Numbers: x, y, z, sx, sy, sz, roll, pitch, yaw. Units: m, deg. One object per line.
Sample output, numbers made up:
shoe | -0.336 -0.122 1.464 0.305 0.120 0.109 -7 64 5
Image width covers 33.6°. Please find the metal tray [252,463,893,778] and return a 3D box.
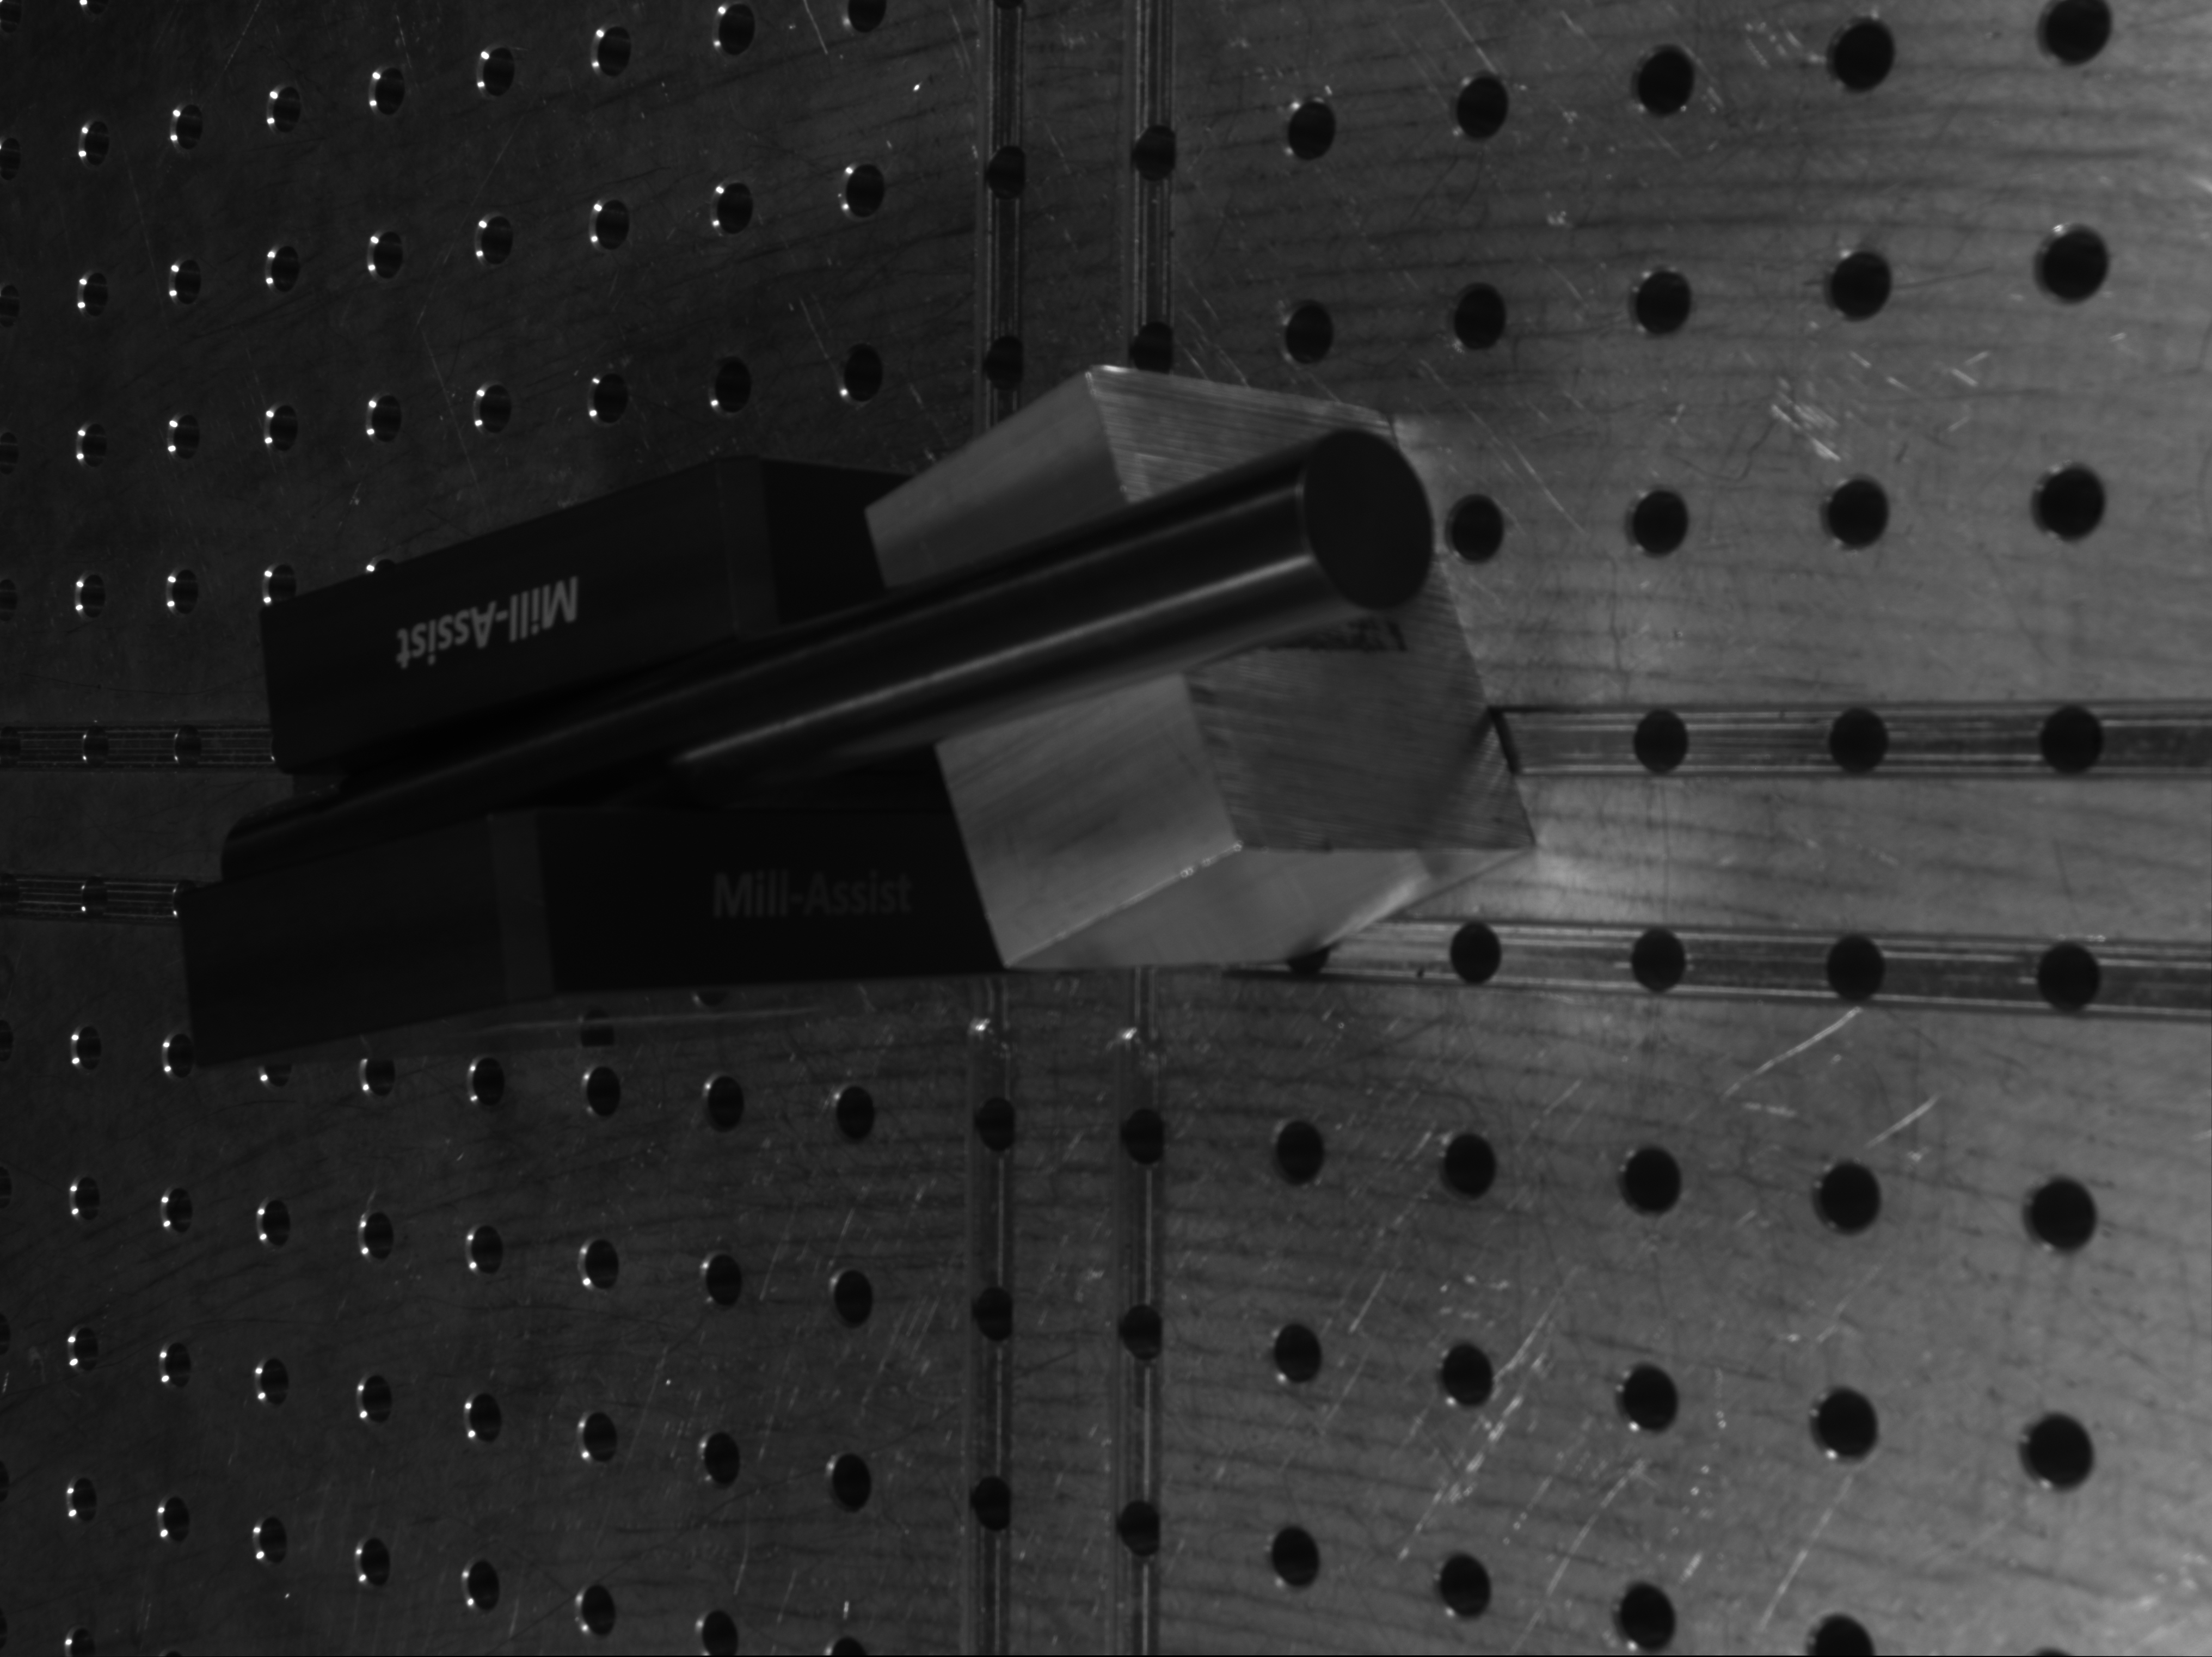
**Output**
metal tray | -0.079 -0.035 0.661 0.130 0.090 0.030 -12 83 39

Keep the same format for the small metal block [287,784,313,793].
small metal block | -0.135 0.006 0.733 0.025 0.050 0.050 -11 83 39

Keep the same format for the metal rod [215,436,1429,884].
metal rod | -0.063 -0.015 0.593 0.299 0.025 0.025 -14 81 48

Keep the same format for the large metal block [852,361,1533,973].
large metal block | 0.015 -0.024 0.591 0.050 0.080 0.080 -28 72 36

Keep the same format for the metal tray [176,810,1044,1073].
metal tray | -0.083 0.019 0.639 0.090 0.130 0.030 -12 82 38
